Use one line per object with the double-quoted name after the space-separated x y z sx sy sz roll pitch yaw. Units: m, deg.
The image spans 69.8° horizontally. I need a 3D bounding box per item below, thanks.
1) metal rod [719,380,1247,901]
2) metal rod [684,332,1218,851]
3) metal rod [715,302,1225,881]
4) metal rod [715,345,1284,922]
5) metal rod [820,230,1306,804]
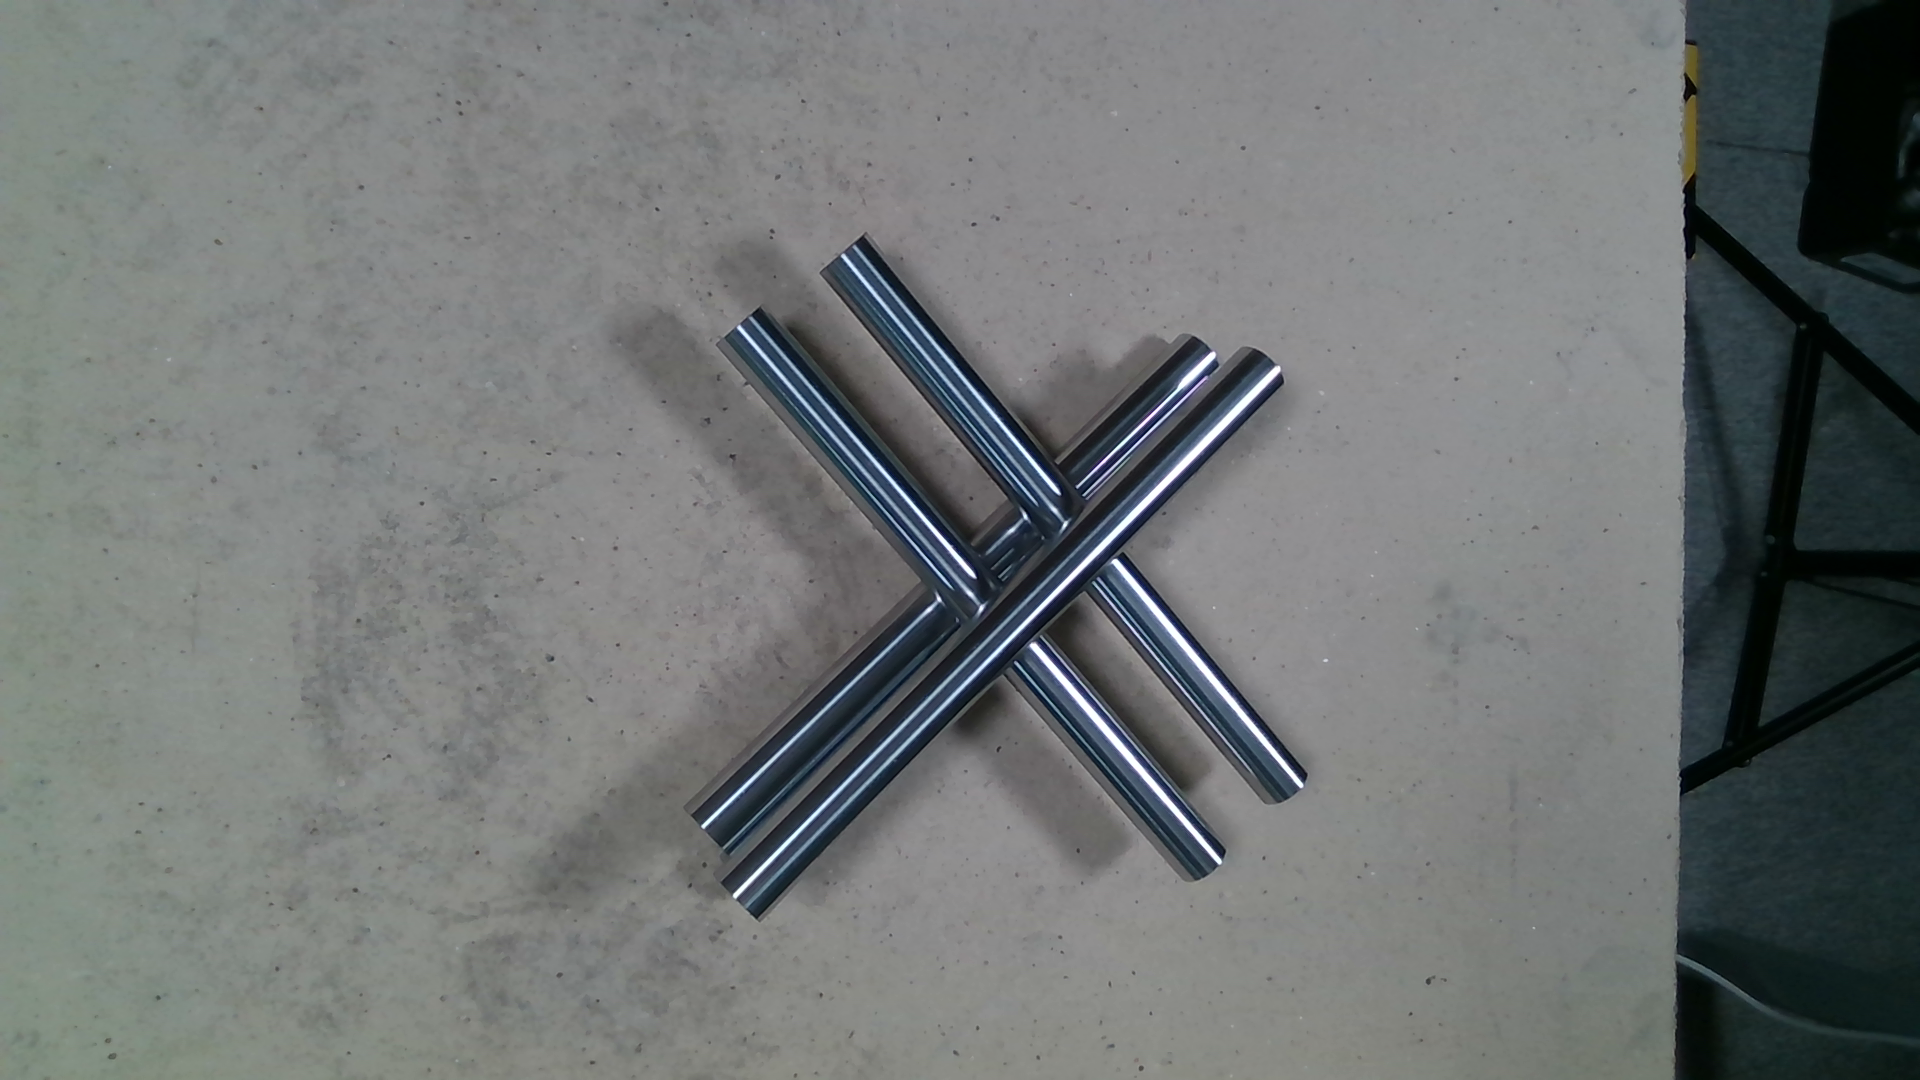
0.017 0.036 0.592 0.300 0.025 0.025 -44 104 -15 "metal rod"
0.003 0.015 0.587 0.300 0.025 0.025 -44 104 -15 "metal rod"
0.010 0.028 0.563 0.025 0.025 0.300 -44 104 -15 "metal rod"
0.023 0.029 0.541 0.300 0.025 0.025 -44 104 -15 "metal rod"
0.048 -0.003 0.577 0.025 0.025 0.300 -44 104 -15 "metal rod"
